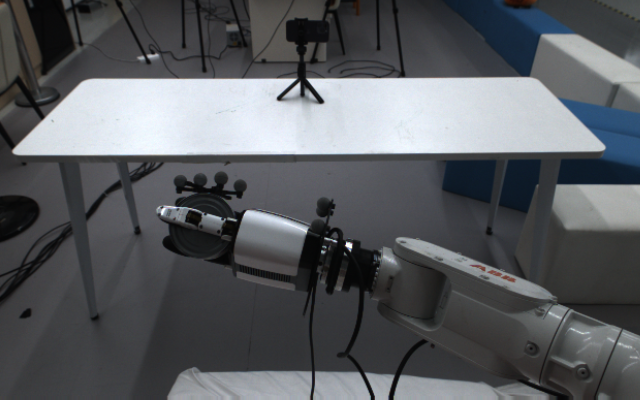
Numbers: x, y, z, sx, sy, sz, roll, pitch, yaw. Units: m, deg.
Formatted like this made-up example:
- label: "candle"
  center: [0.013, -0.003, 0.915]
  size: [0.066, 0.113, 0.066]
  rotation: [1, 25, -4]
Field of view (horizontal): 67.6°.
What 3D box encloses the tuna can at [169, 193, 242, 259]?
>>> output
- label: "tuna can"
  center: [-0.149, 0.036, 0.634]
  size: [0.085, 0.034, 0.085]
  rotation: [0, 77, -1]
